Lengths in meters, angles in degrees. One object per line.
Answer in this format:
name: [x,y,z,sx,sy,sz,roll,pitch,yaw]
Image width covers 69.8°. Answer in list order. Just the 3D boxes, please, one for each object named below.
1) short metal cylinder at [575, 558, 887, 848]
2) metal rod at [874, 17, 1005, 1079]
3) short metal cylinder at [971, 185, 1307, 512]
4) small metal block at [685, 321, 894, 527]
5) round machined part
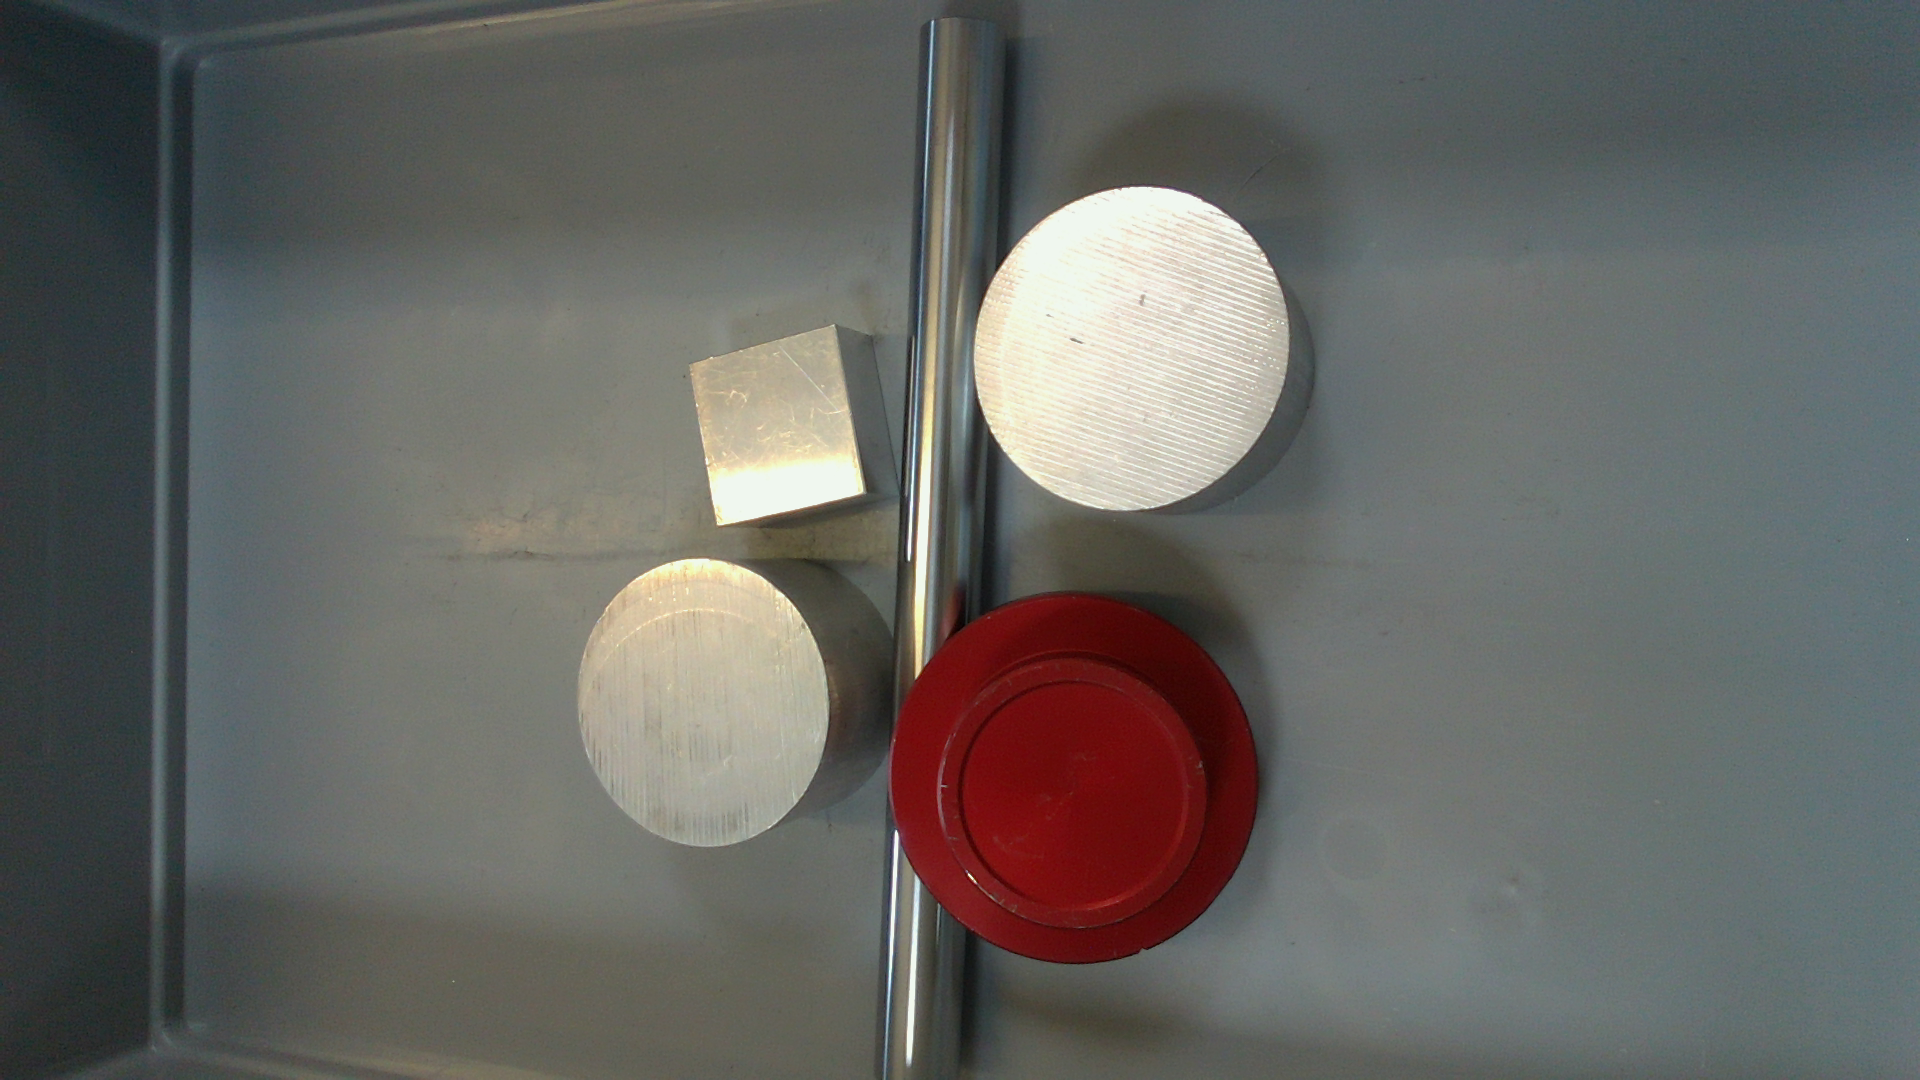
short metal cylinder: [-0.064,0.045,0.404,0.080,0.050,0.080,0,90,20]
metal rod: [-0.006,0.005,0.396,0.025,0.025,0.300,3,91,20]
short metal cylinder: [0.049,-0.047,0.363,0.080,0.050,0.080,0,90,20]
small metal block: [-0.050,-0.033,0.412,0.050,0.025,0.050,-12,86,20]
round machined part: [0.029,0.063,0.362,0.098,0.042,0.098,0,90,4]
